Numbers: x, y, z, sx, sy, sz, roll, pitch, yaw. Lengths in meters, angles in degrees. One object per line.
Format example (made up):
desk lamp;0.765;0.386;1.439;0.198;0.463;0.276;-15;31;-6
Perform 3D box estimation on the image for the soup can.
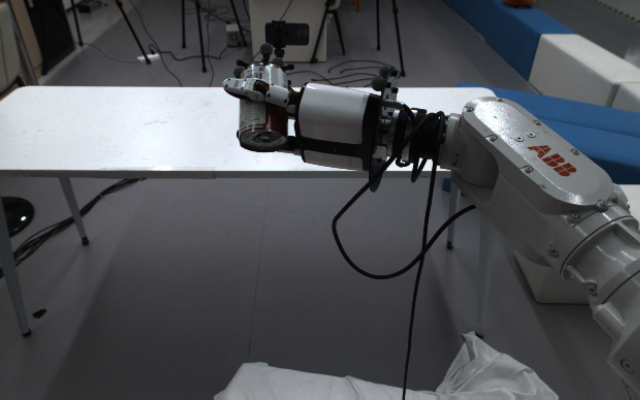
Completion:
soup can;-0.075;-0.124;0.657;0.067;0.067;0.101;-1;71;-5
